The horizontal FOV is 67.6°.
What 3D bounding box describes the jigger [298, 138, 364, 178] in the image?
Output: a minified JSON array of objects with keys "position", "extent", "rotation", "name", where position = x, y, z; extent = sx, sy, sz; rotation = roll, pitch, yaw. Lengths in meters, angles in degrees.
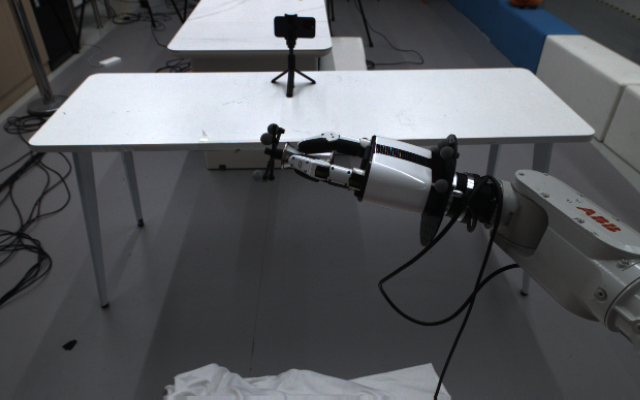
[{"position":[-0.010,-0.059,0.679],"extent":[0.071,0.043,0.043],"rotation":[12,36,5],"name":"jigger"}]
